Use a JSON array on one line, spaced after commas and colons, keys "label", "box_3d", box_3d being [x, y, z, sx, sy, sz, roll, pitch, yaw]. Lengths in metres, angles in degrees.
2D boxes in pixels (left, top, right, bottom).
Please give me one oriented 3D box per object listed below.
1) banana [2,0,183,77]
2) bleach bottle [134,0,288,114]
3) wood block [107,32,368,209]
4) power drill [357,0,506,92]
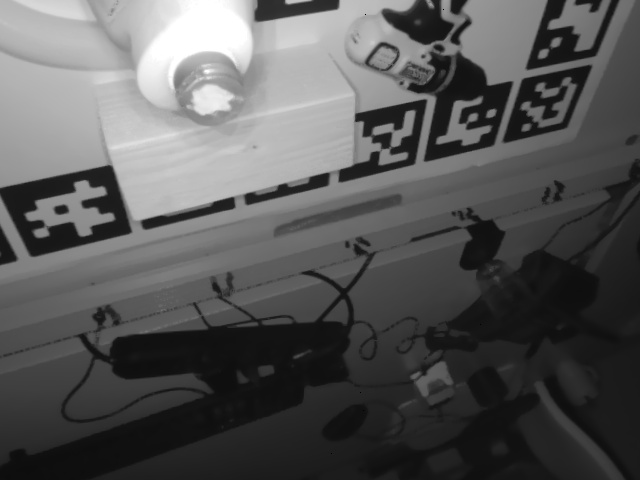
[{"label": "banana", "box_3d": [-0.150, -0.163, 0.541, 0.200, 0.039, 0.073, -1, 124, -26]}, {"label": "bleach bottle", "box_3d": [-0.077, -0.160, 0.412, 0.069, 0.251, 0.101, 9, 134, -38]}, {"label": "wood block", "box_3d": [-0.071, -0.108, 0.618, 0.208, 0.091, 0.089, -14, 141, -15]}, {"label": "power drill", "box_3d": [0.148, -0.227, 0.634, 0.187, 0.057, 0.184, 11, 132, -35]}]
